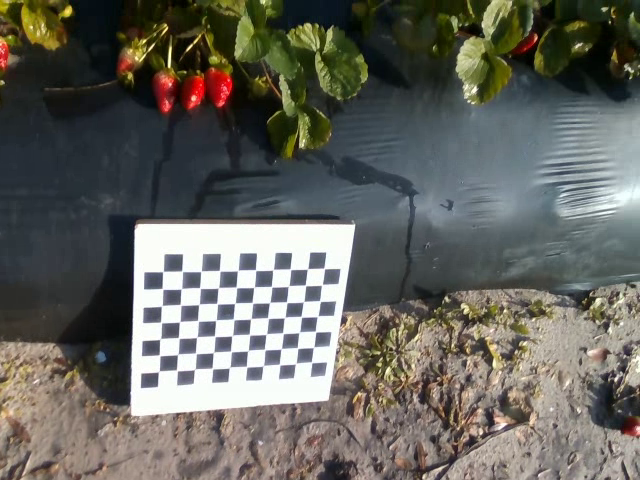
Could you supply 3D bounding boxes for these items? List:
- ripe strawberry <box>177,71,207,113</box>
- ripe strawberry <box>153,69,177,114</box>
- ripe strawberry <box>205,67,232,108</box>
[{"bbox_3d":[-0.131,-0.152,0.925,0.030,0.039,0.037,10,-46,-22],"label":"ripe strawberry"},{"bbox_3d":[-0.160,-0.153,0.922,0.031,0.046,0.023,-1,8,-19],"label":"ripe strawberry"},{"bbox_3d":[-0.105,-0.153,0.938,0.035,0.041,0.034,-5,-27,-17],"label":"ripe strawberry"}]
